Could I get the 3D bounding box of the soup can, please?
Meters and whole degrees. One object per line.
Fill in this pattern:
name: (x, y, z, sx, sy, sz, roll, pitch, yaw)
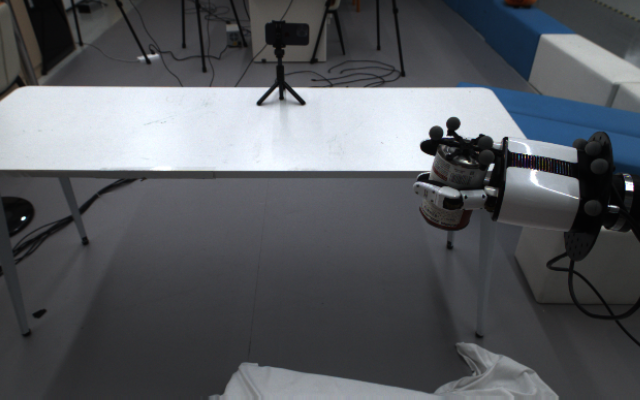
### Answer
soup can: (0.174, -0.021, 0.627, 0.067, 0.101, 0.067, 5, 37, -4)
